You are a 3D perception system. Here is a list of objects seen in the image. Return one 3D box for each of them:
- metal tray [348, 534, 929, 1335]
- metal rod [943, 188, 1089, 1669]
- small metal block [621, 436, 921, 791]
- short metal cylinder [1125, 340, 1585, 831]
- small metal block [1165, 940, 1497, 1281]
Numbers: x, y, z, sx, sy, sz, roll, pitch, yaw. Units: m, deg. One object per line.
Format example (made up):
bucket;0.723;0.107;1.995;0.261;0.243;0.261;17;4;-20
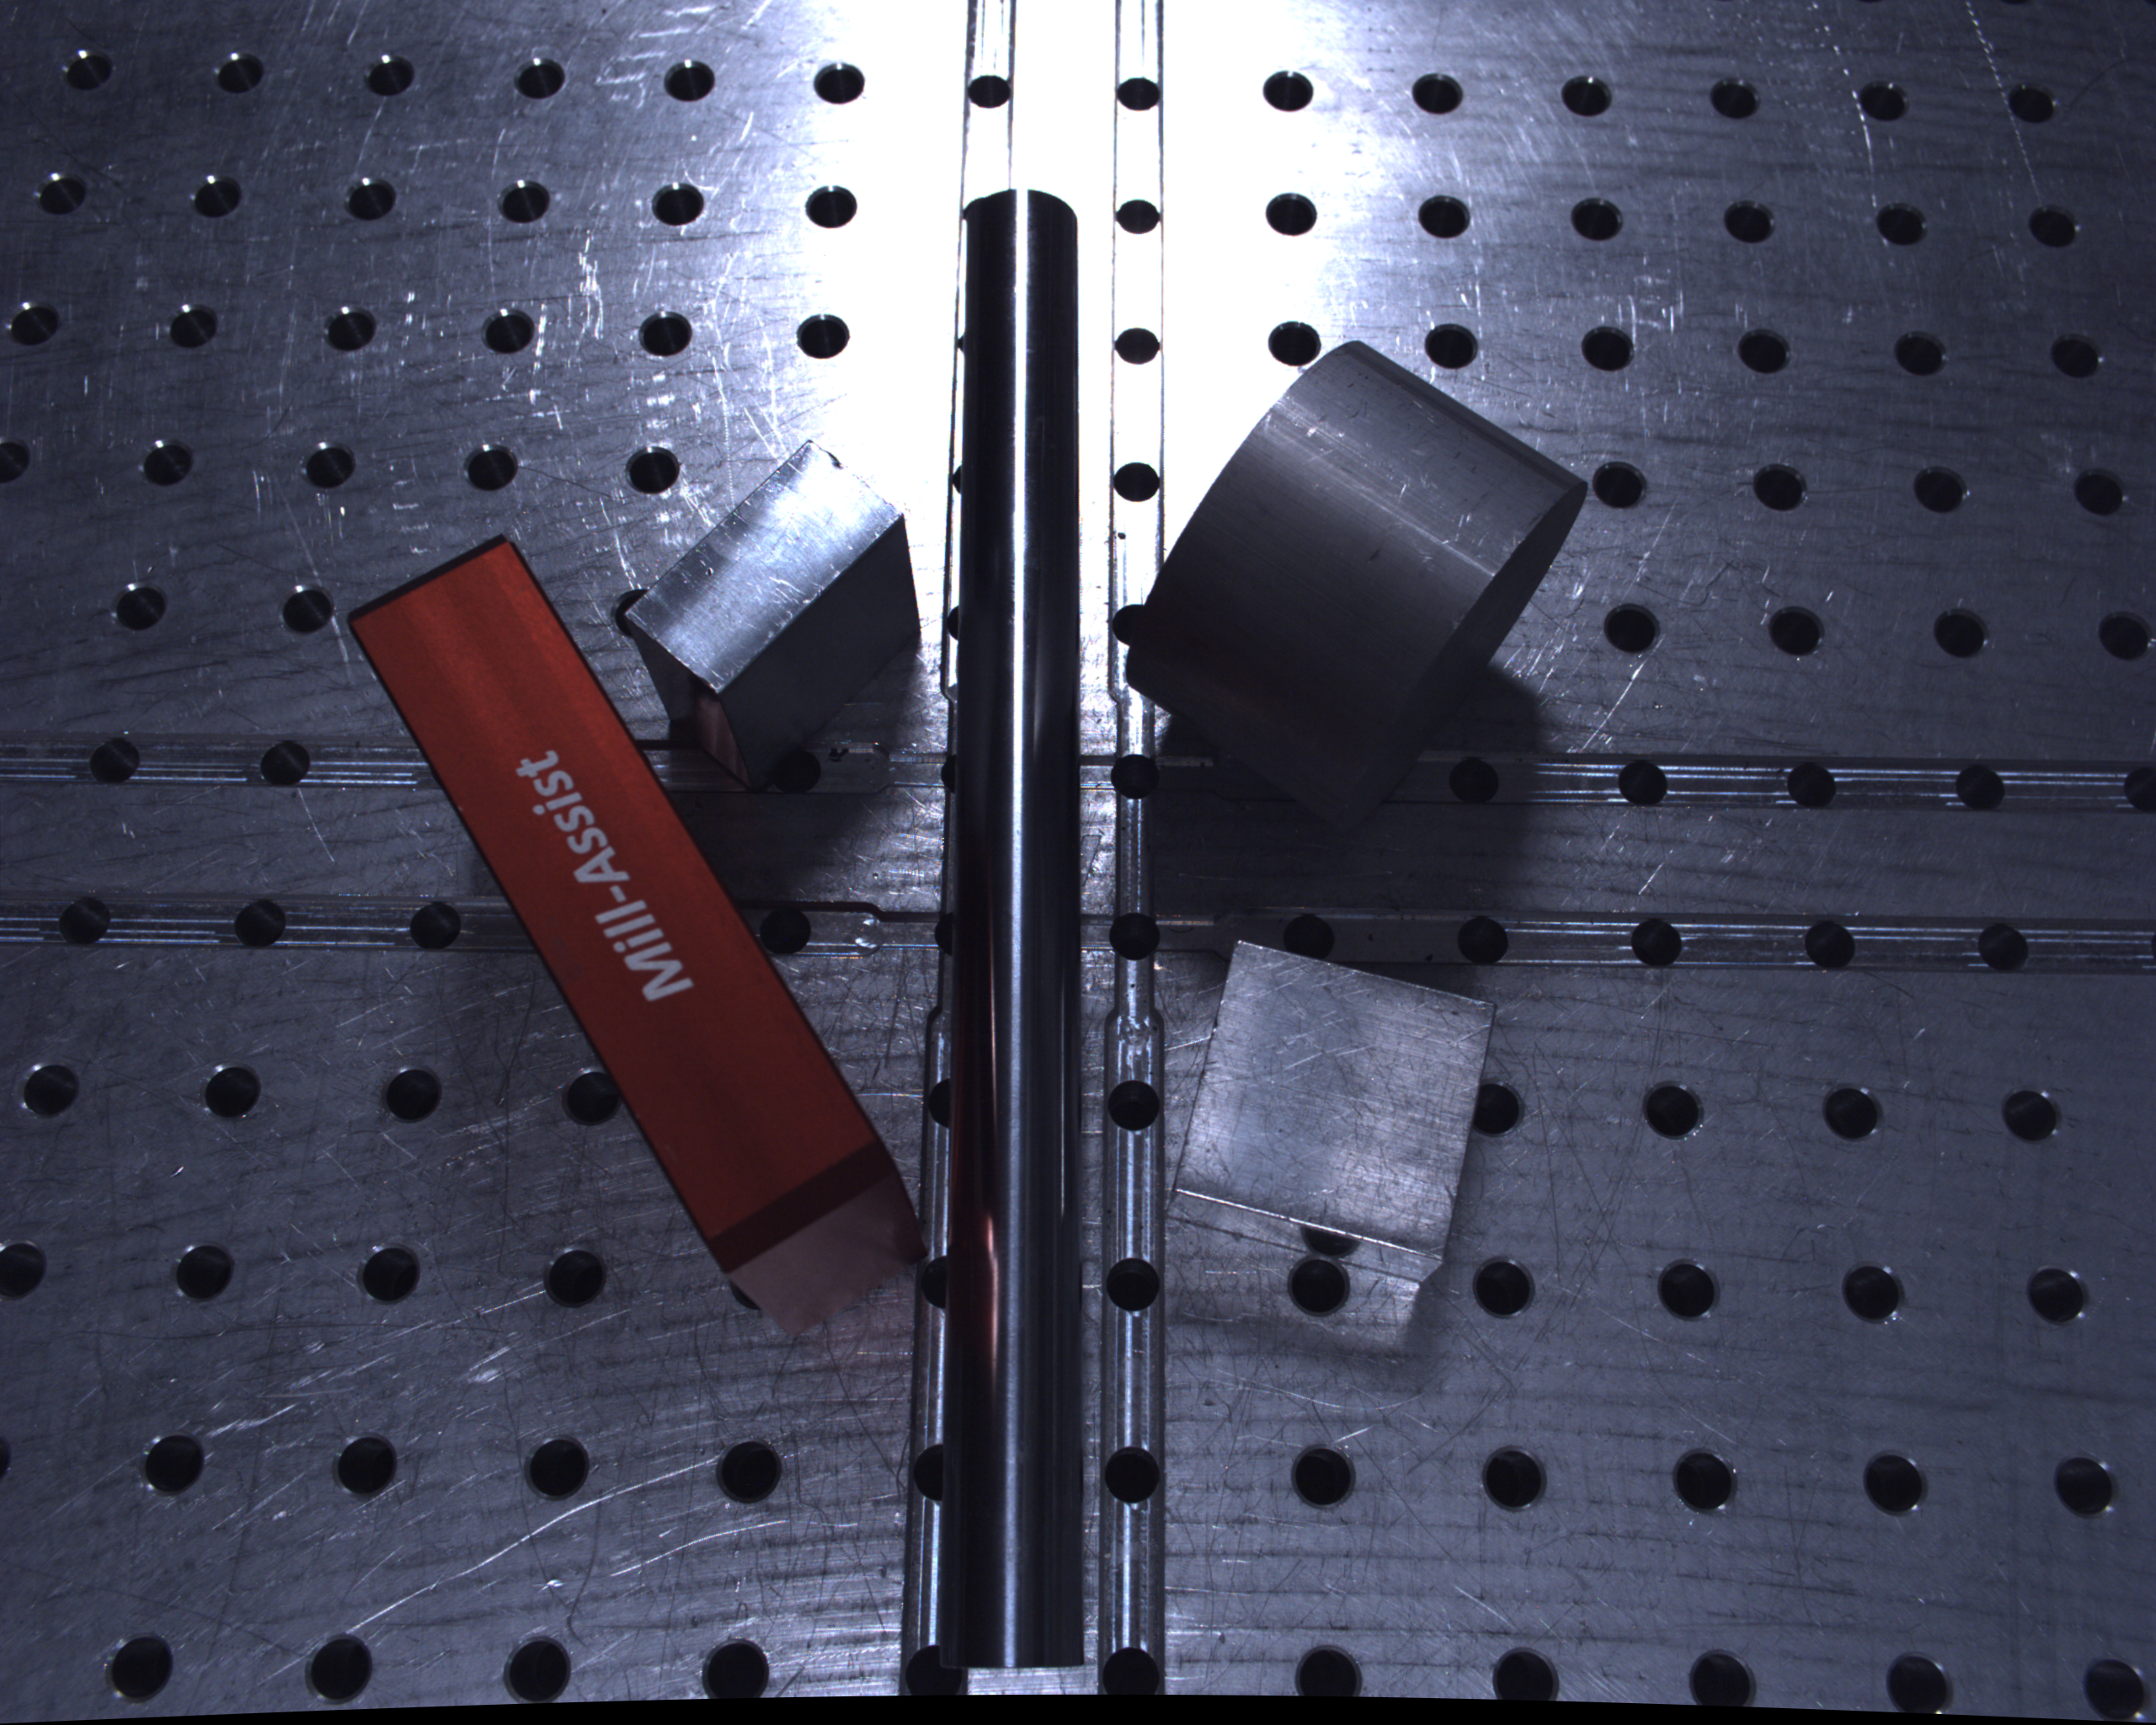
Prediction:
metal tray;-0.075;0.016;0.370;0.030;0.090;0.130;-31;73;-11
metal rod;-0.011;-0.001;0.411;0.025;0.025;0.299;0;70;-1
small metal block;-0.059;-0.048;0.414;0.025;0.050;0.050;40;75;13
short metal cylinder;0.053;-0.053;0.402;0.050;0.080;0.080;36;74;12
small metal block;0.048;0.047;0.396;0.050;0.025;0.050;14;71;5
